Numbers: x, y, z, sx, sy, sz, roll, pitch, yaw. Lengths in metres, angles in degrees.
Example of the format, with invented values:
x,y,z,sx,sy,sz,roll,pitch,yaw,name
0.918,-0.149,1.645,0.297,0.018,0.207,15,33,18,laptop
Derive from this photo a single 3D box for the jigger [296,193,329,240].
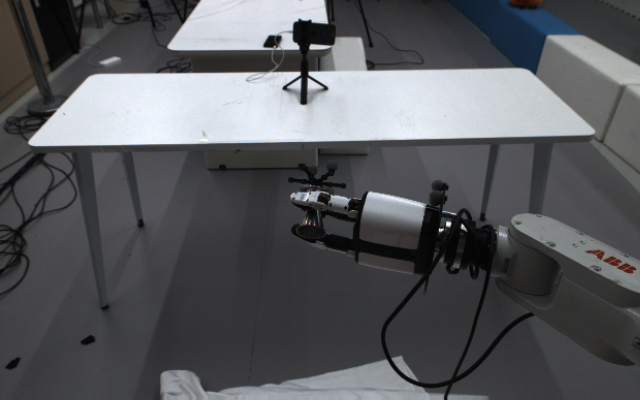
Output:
x,y,z,sx,sy,sz,roll,pitch,yaw,name
-0.013,0.016,0.716,0.043,0.043,0.071,6,61,5,jigger
